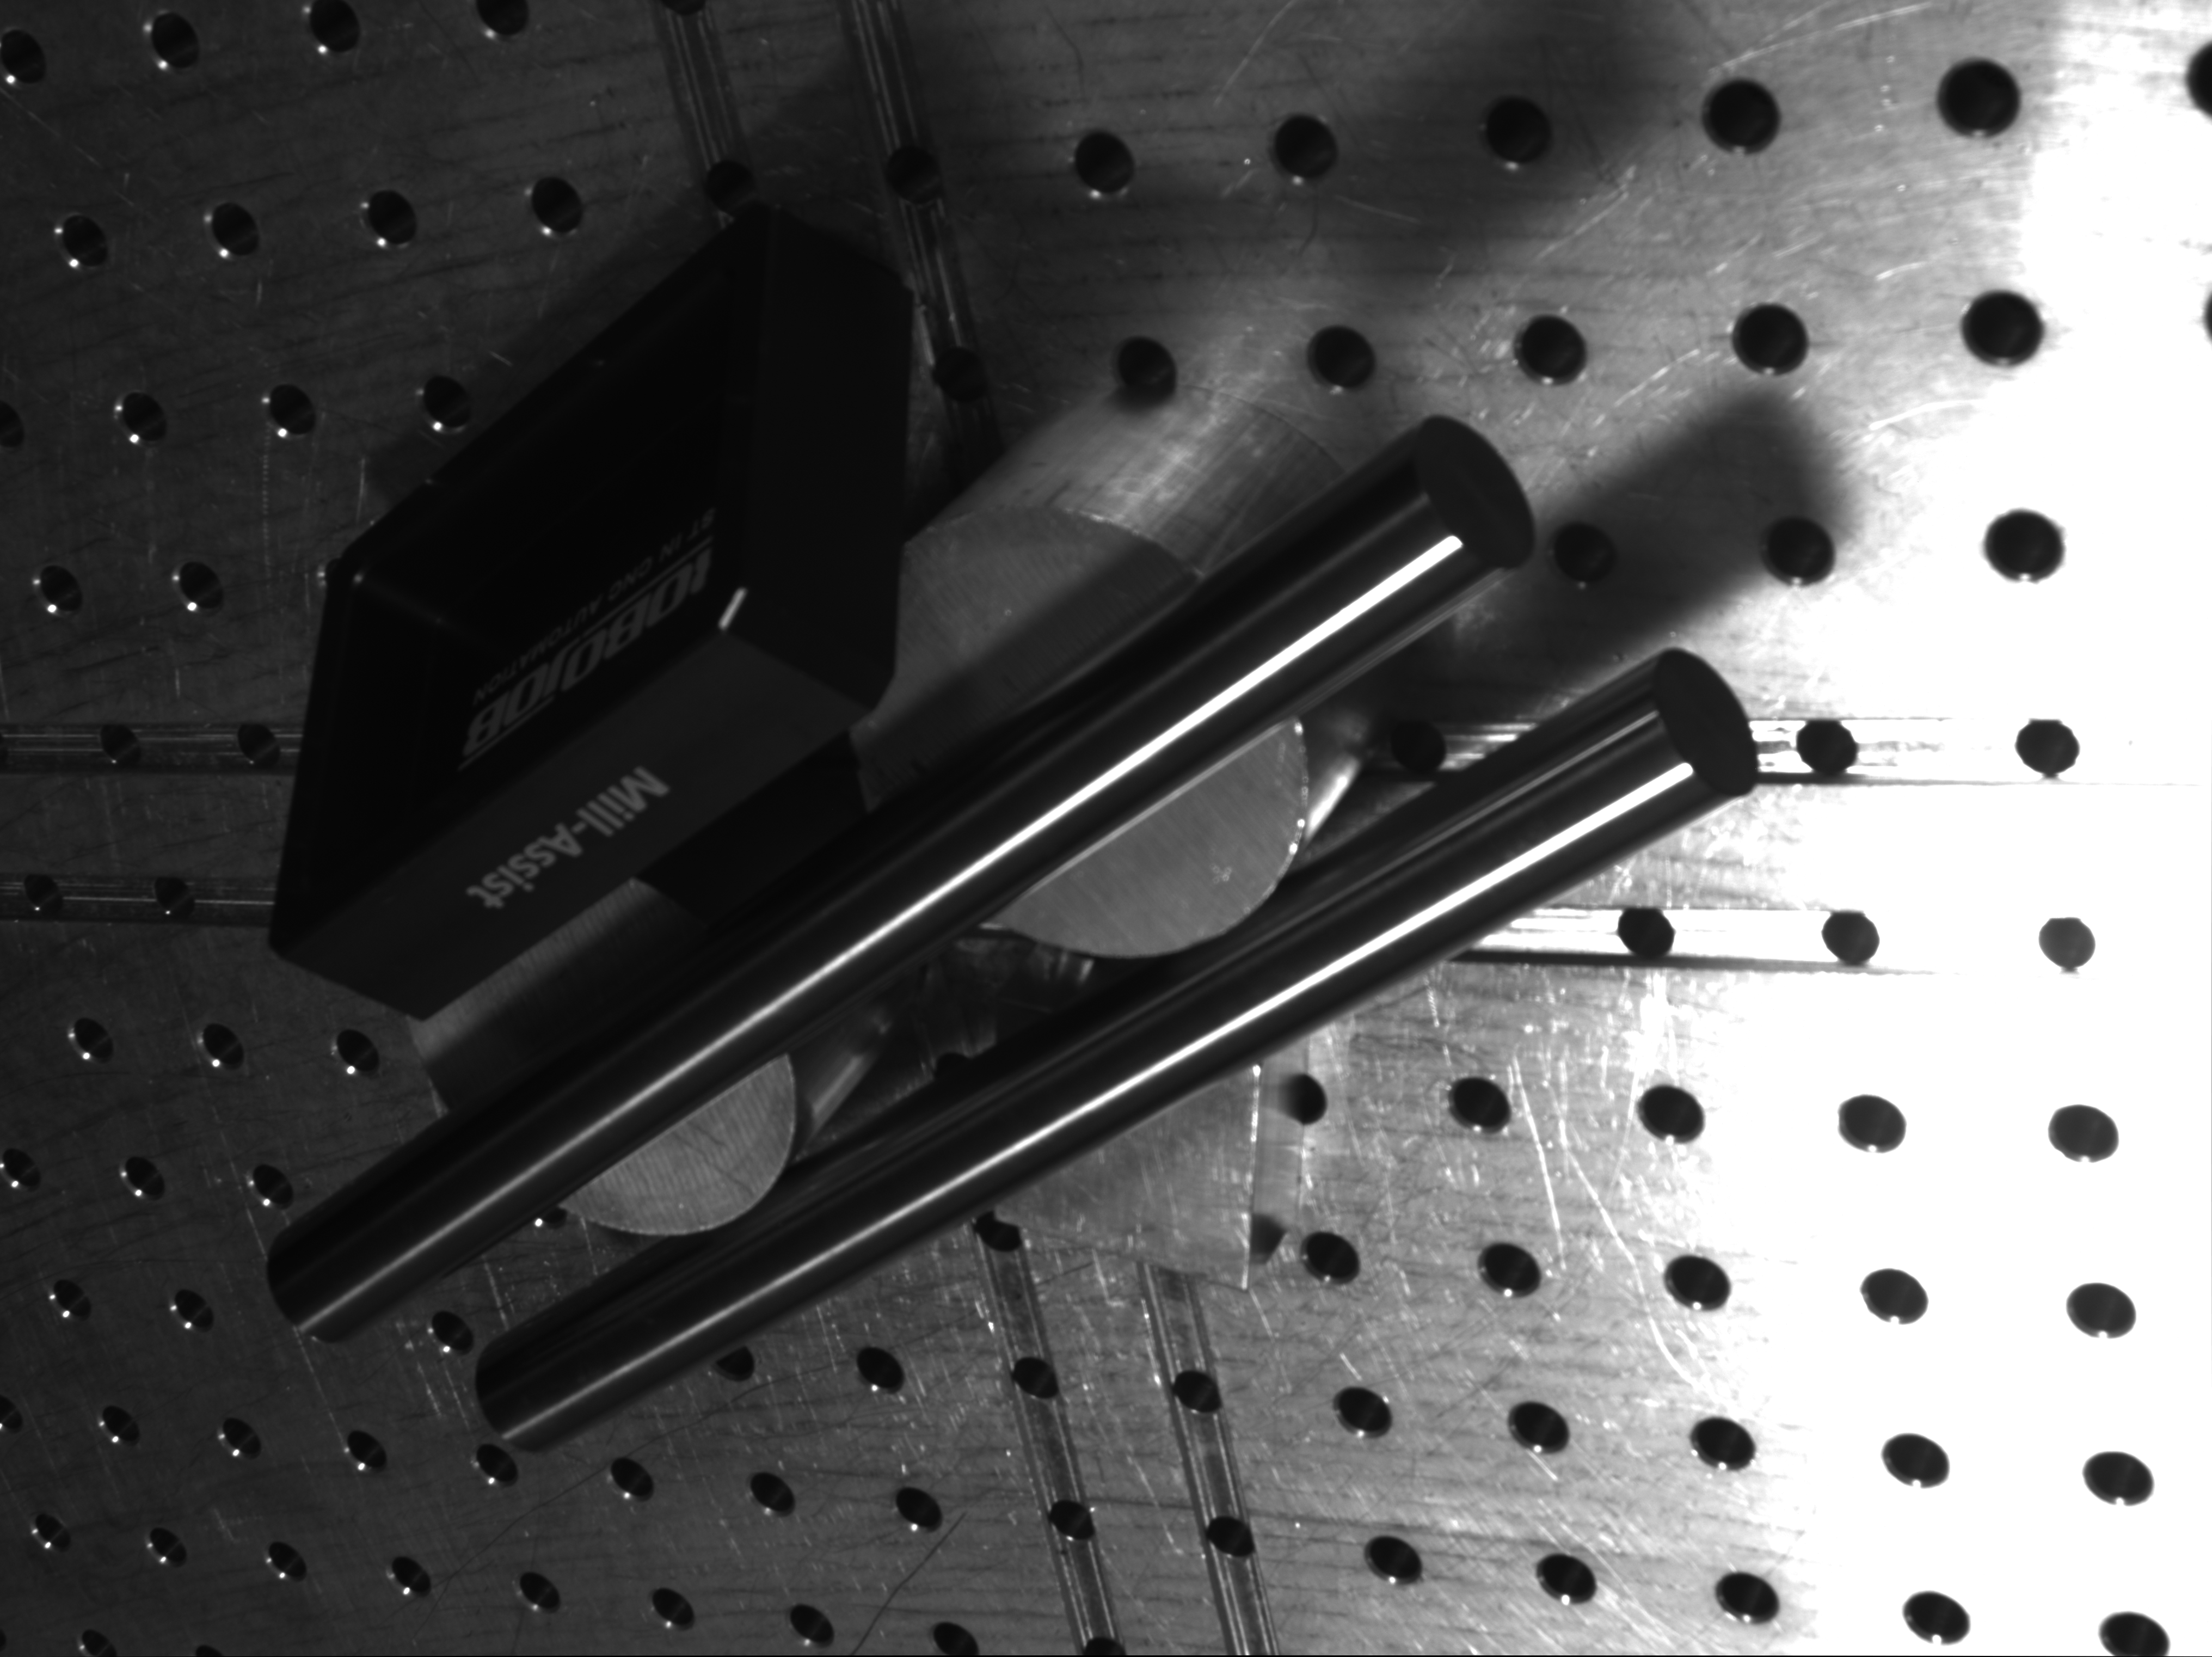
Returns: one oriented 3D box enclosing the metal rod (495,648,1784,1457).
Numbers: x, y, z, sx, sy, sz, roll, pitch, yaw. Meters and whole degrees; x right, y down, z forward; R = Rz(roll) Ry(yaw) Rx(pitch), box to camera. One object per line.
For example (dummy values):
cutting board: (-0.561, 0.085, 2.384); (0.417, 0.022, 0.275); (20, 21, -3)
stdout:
metal rod: (-0.009, 0.048, 0.634); (0.299, 0.025, 0.025); (-32, 101, 37)

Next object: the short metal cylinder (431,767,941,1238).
short metal cylinder: (-0.077, 0.028, 0.674); (0.080, 0.050, 0.080); (12, 123, 20)

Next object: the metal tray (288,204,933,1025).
metal tray: (-0.084, -0.034, 0.612); (0.030, 0.090, 0.130); (29, 135, -33)

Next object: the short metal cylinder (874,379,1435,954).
short metal cylinder: (0.008, -0.027, 0.599); (0.080, 0.050, 0.080); (12, 123, 20)

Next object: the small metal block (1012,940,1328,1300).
small metal block: (0.011, 0.051, 0.658); (0.050, 0.025, 0.050); (14, 124, 19)

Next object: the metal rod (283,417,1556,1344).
metal rod: (-0.045, 0.019, 0.603); (0.299, 0.025, 0.025); (-34, 100, 37)
